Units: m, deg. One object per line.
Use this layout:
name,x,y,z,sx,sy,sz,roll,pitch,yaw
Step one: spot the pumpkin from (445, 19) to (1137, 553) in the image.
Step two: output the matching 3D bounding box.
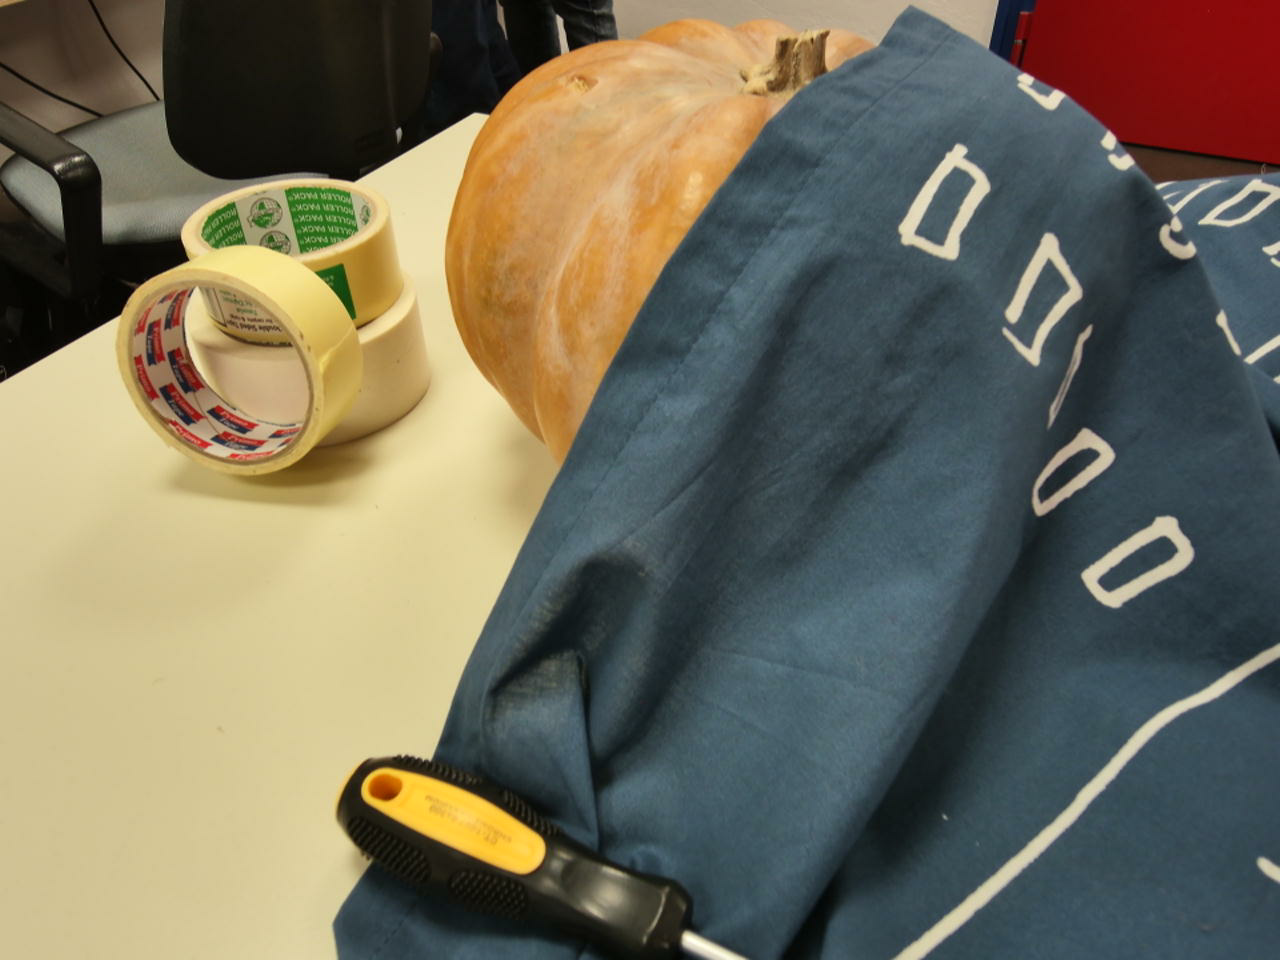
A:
pumpkin,0.053,-0.088,0.413,0.277,0.181,0.277,0,38,0
